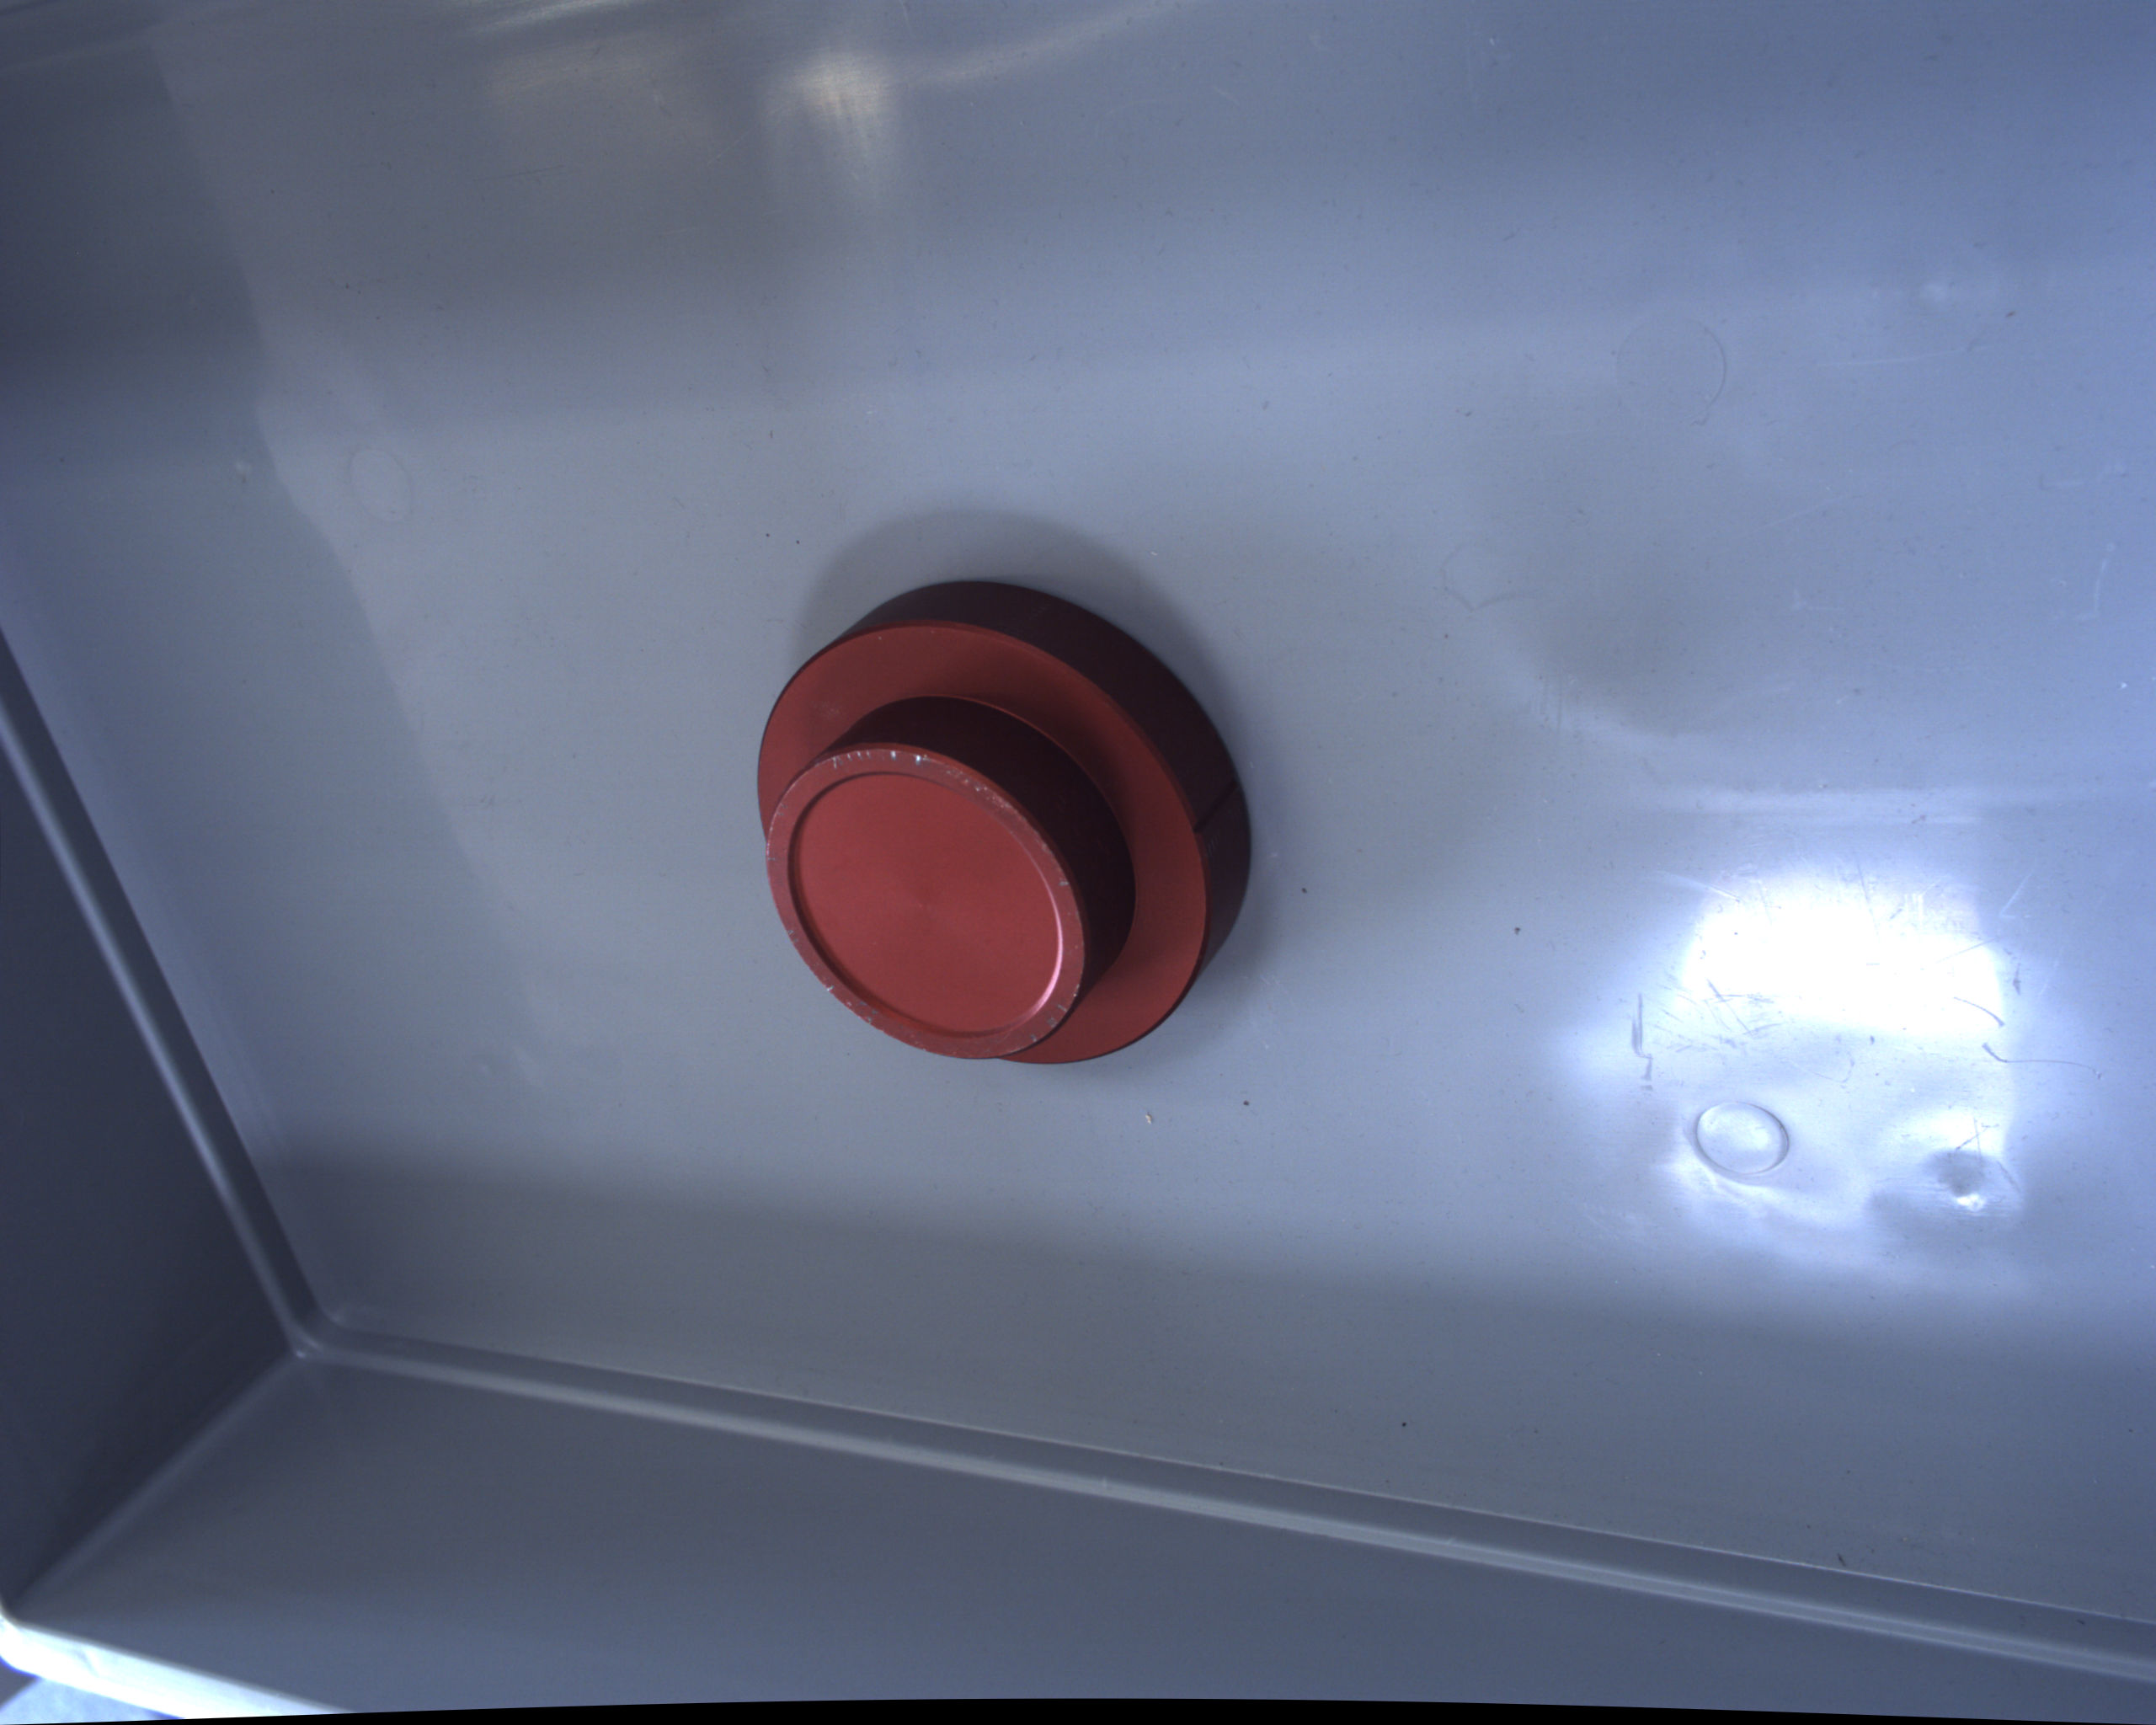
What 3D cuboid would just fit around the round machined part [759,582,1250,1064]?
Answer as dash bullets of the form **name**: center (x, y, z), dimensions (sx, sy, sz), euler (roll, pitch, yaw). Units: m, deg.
- **round machined part**: center (-0.020, -0.001, 0.404), dimensions (0.098, 0.042, 0.097), euler (13, 124, 21)
